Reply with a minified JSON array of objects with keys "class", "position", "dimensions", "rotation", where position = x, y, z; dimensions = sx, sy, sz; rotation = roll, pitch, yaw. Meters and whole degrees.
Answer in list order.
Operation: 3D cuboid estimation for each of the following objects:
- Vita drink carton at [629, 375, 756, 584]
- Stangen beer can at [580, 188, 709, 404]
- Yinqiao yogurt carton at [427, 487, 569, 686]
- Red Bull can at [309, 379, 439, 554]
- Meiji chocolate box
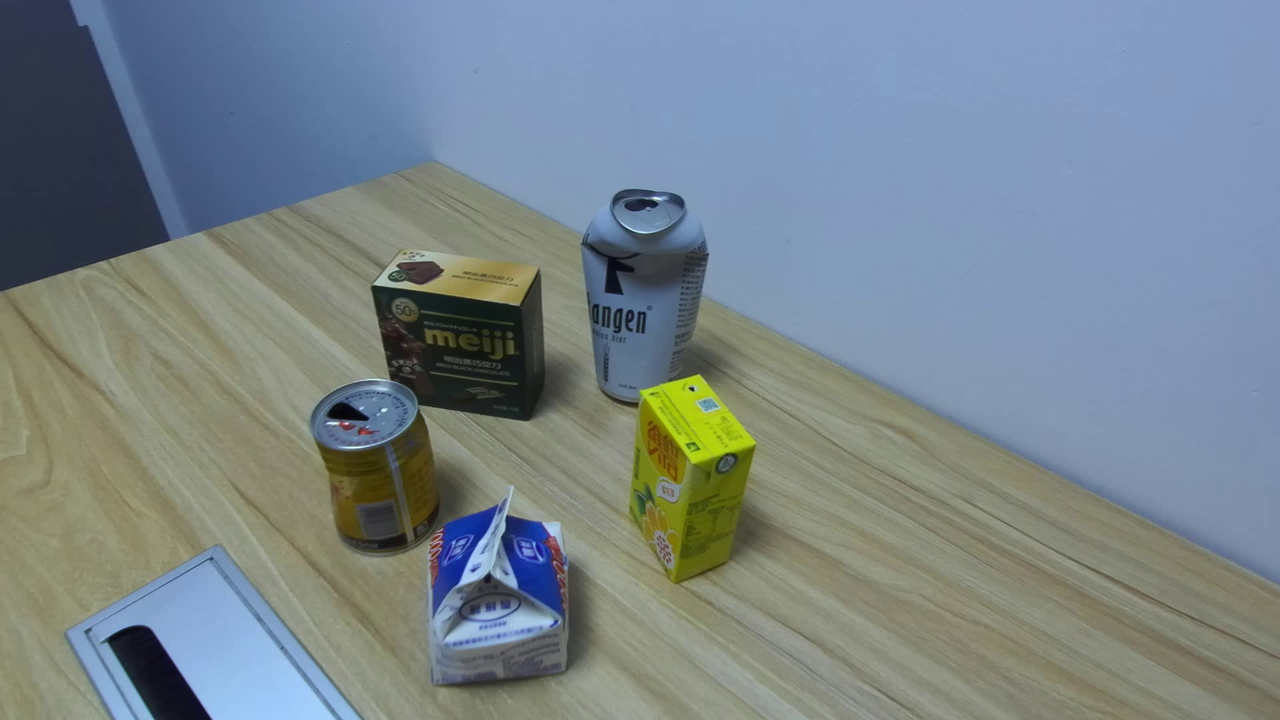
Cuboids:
[{"class":"Vita drink carton","position":[0.030,0.072,0.426],"dimensions":[0.044,0.109,0.066],"rotation":[-15,43,-21]},{"class":"Stangen beer can","position":[0.001,-0.043,0.526],"dimensions":[0.077,0.162,0.065],"rotation":[-17,43,-24]},{"class":"Yinqiao yogurt carton","position":[-0.076,0.116,0.375],"dimensions":[0.077,0.093,0.083],"rotation":[-2,38,-8]},{"class":"Red Bull can","position":[-0.161,0.066,0.432],"dimensions":[0.069,0.092,0.069],"rotation":[3,37,-2]},{"class":"Meiji chocolate box","position":[-0.130,-0.017,0.527],"dimensions":[0.110,0.109,0.056],"rotation":[8,38,5]}]
